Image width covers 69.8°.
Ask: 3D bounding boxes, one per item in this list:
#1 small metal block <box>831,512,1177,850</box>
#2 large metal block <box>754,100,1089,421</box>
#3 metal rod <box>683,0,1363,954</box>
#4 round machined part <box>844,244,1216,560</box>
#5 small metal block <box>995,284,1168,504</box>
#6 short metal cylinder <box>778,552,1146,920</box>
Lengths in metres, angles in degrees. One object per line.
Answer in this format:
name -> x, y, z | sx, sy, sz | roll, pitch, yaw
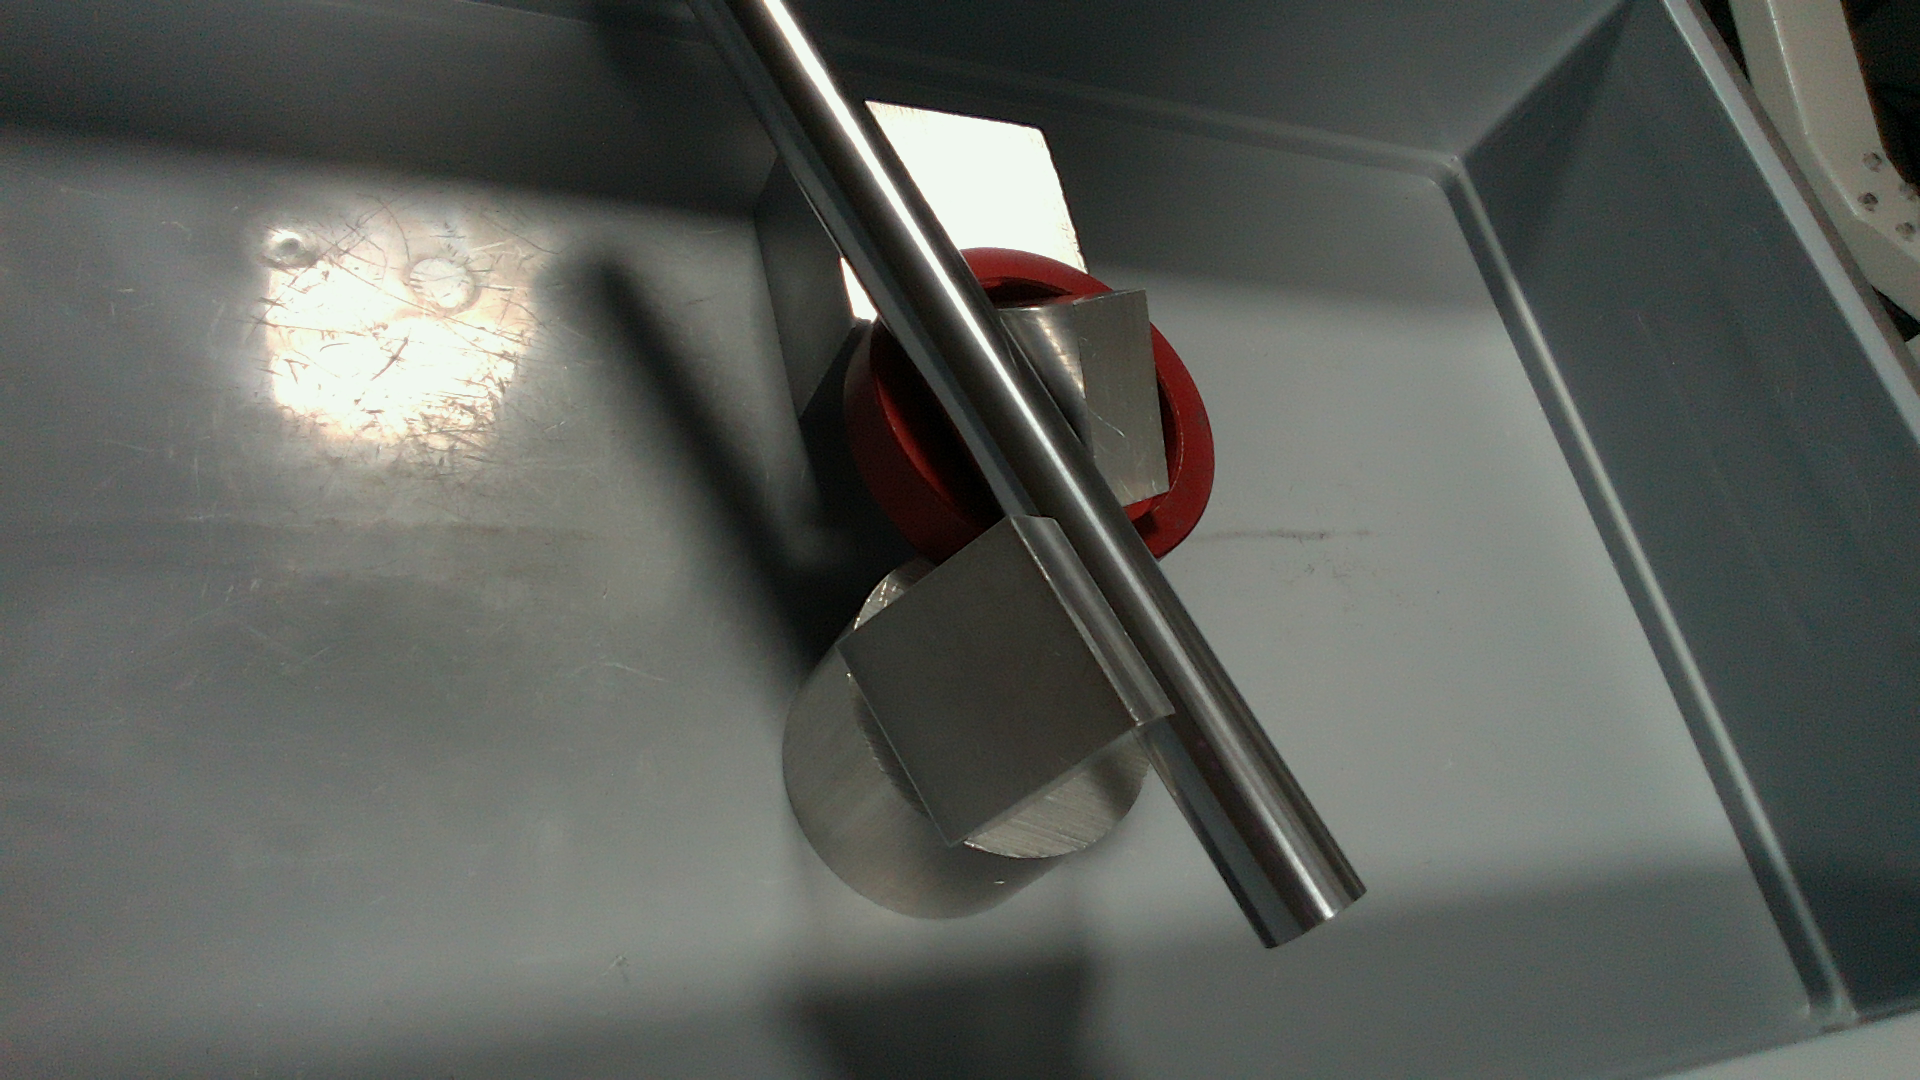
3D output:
small metal block -> 0.009, 0.029, 0.292 | 0.050, 0.050, 0.025 | 59, 20, 15
large metal block -> -0.011, -0.082, 0.415 | 0.080, 0.050, 0.080 | 0, 62, -28
metal rod -> -0.001, -0.044, 0.325 | 0.025, 0.025, 0.300 | -21, 73, -36
round machined part -> 0.015, -0.027, 0.364 | 0.098, 0.042, 0.098 | 14, 56, -21
small metal block -> 0.022, -0.035, 0.344 | 0.025, 0.050, 0.050 | -19, 106, -39
short metal cylinder -> 0.001, 0.048, 0.344 | 0.080, 0.050, 0.080 | 14, 56, -21
